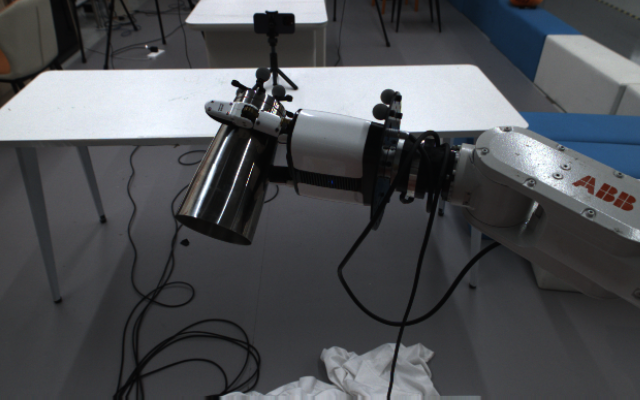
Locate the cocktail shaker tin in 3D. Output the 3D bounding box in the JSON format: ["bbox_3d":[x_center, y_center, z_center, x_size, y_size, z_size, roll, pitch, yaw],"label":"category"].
[{"bbox_3d":[-0.095,-0.043,0.578,0.093,0.093,0.170,13,72,15],"label":"cocktail shaker tin"}]
